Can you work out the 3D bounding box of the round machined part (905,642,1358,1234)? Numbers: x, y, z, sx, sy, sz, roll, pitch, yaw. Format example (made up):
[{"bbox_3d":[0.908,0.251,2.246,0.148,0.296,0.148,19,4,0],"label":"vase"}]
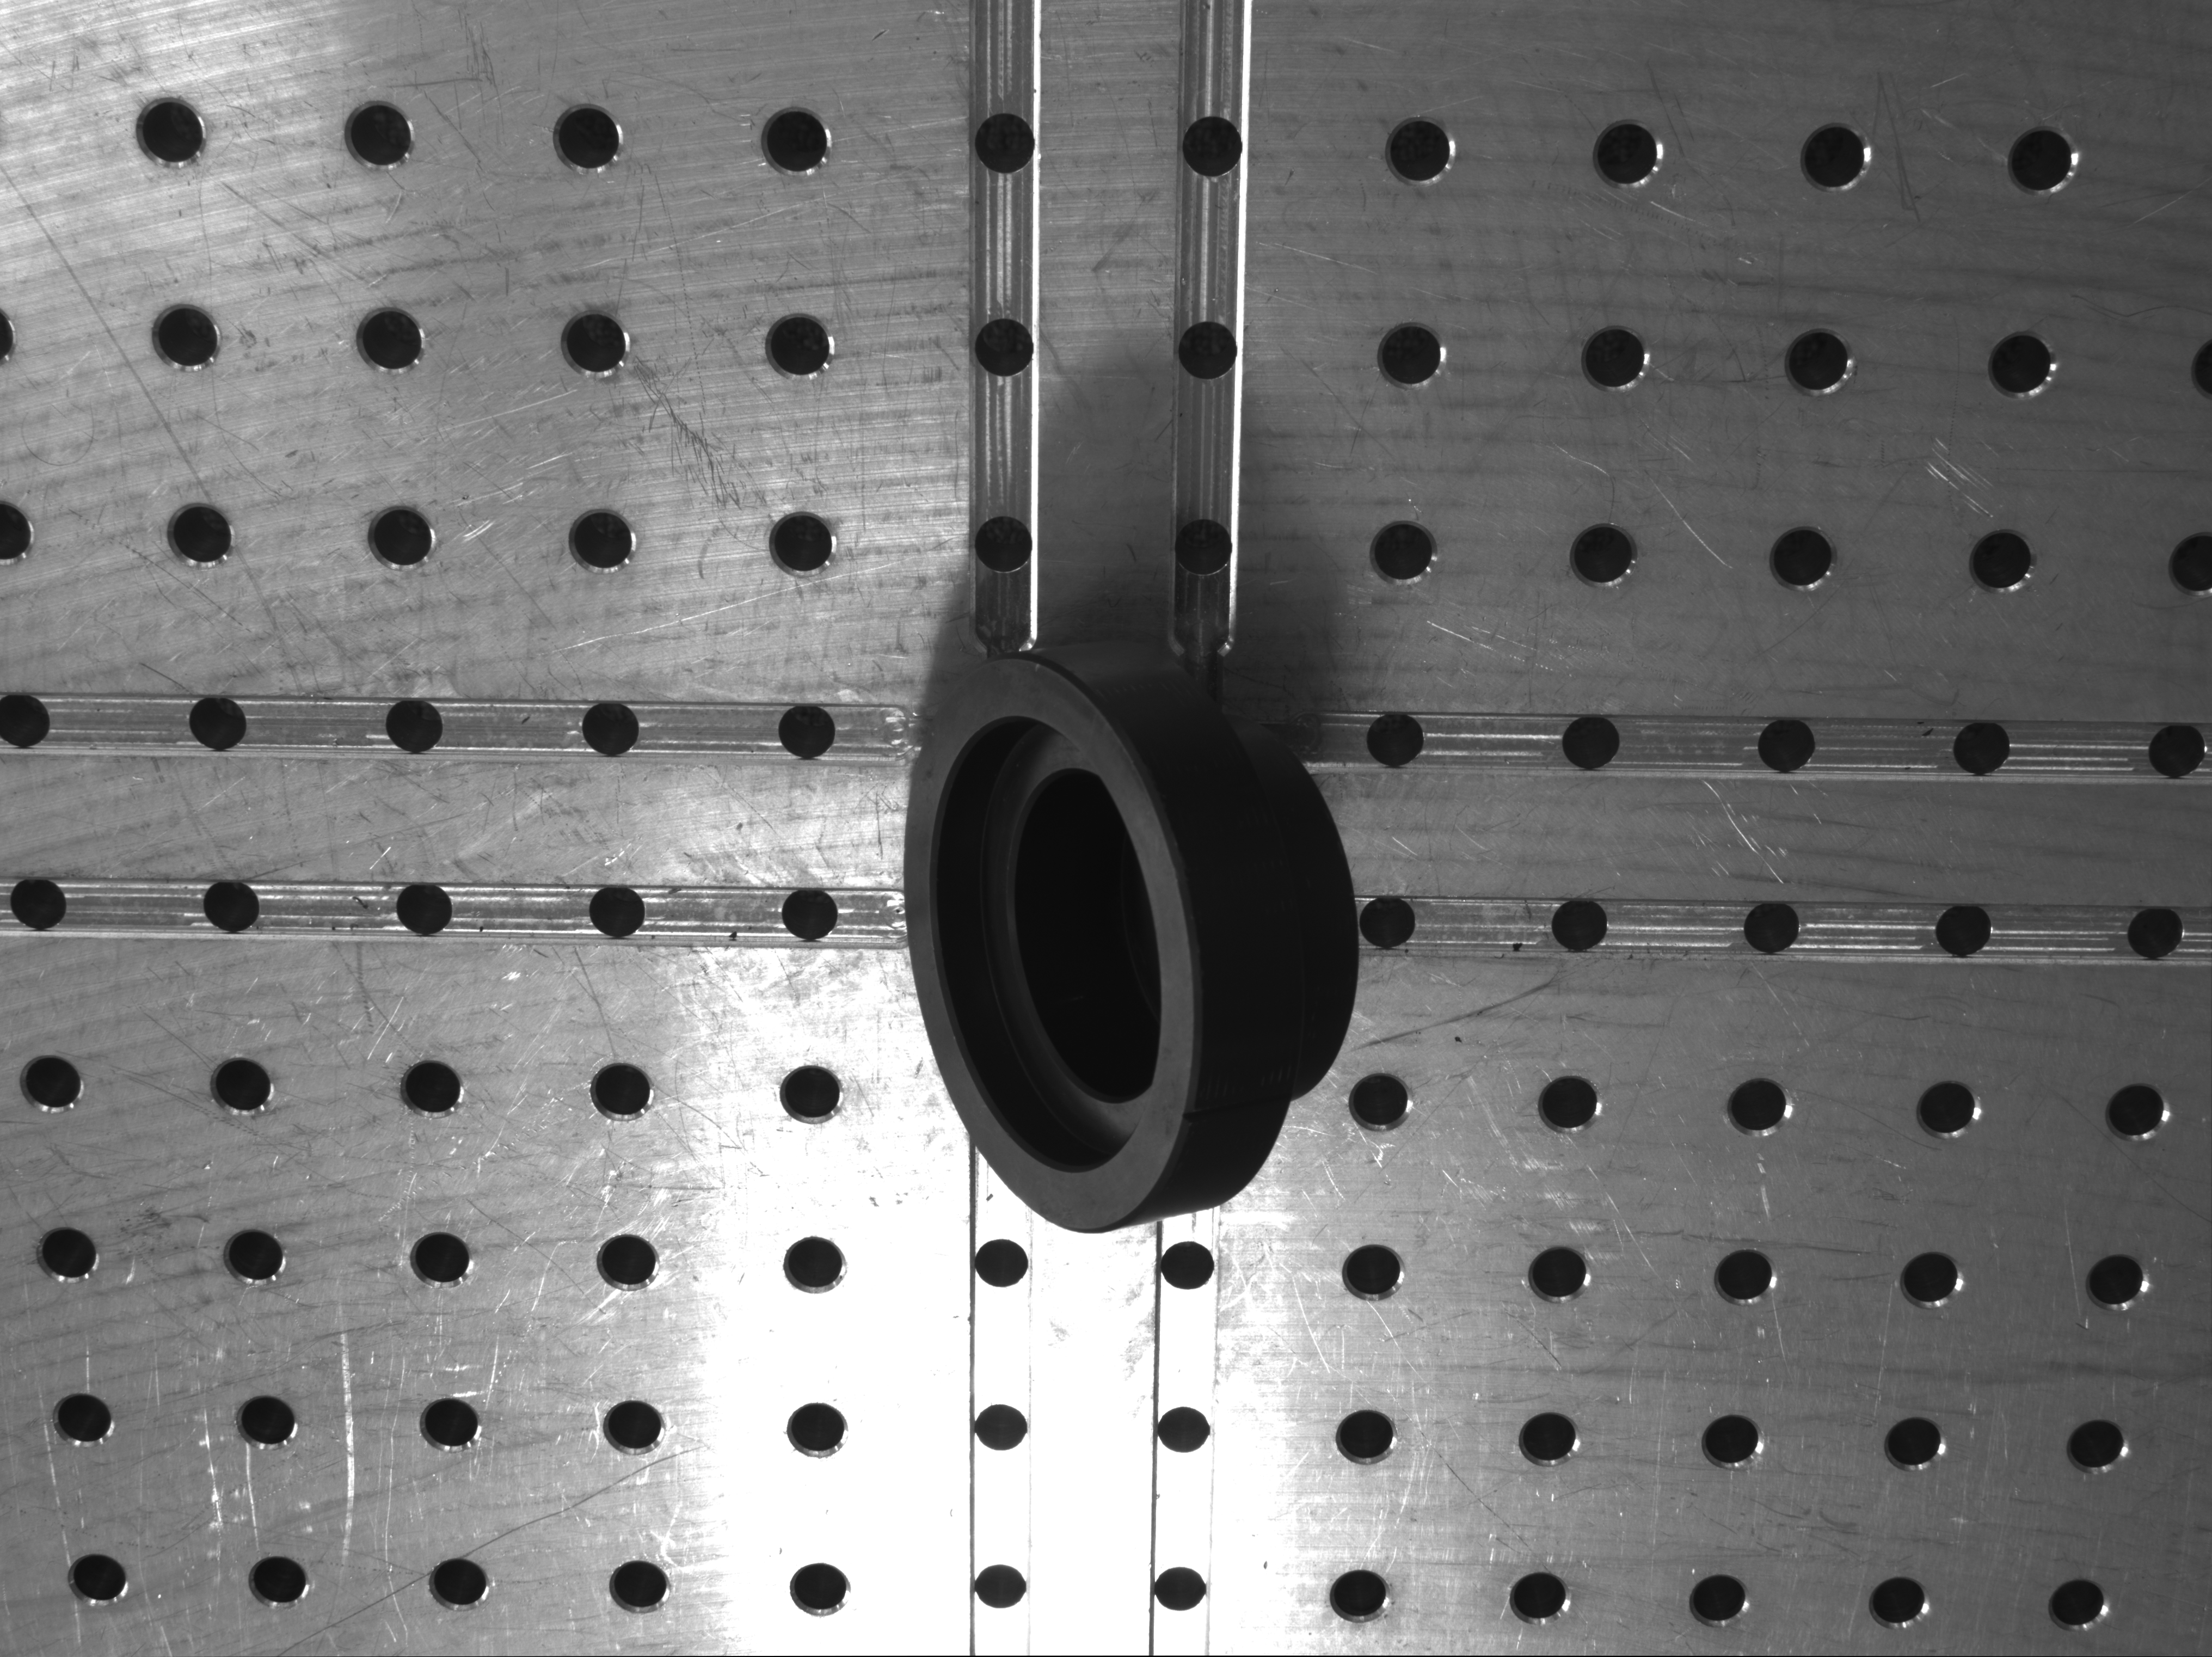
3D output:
[{"bbox_3d":[0.007,0.017,0.624,0.042,0.098,0.098,-9,113,-30],"label":"round machined part"}]
